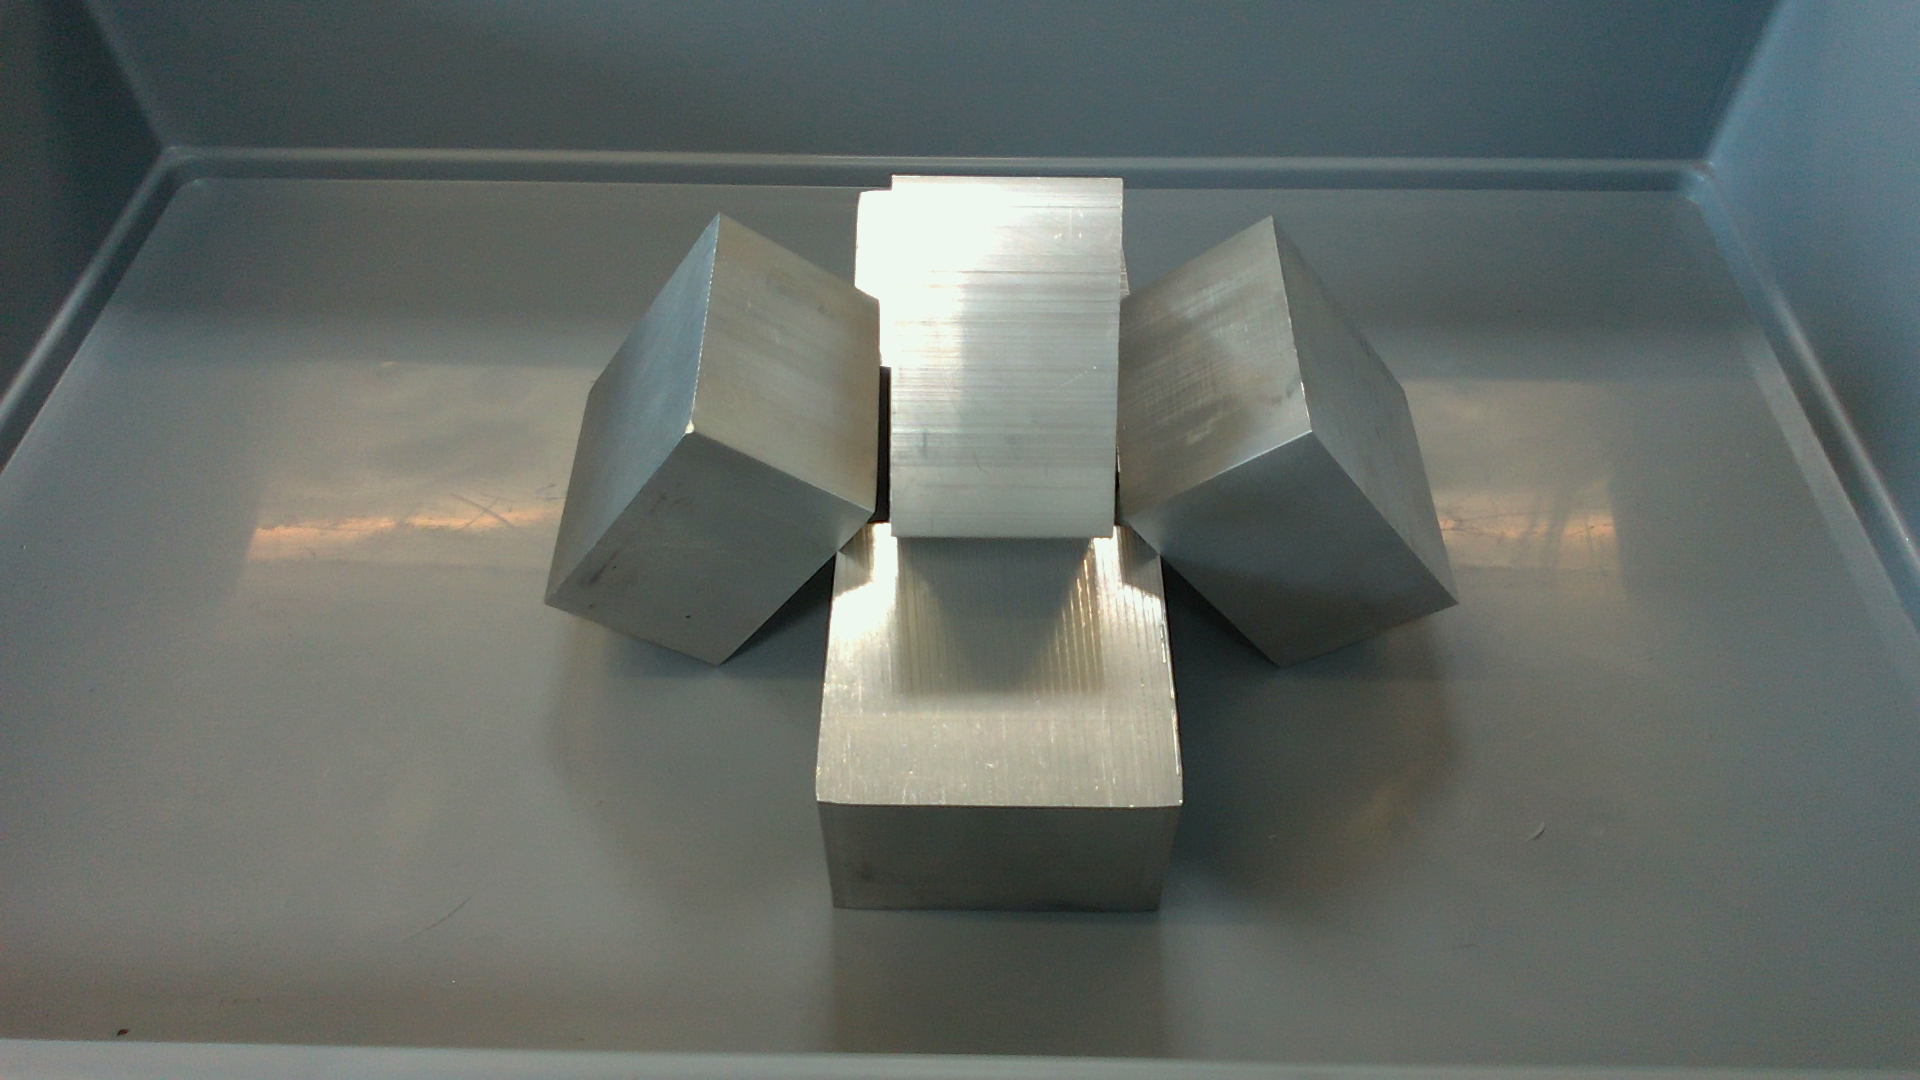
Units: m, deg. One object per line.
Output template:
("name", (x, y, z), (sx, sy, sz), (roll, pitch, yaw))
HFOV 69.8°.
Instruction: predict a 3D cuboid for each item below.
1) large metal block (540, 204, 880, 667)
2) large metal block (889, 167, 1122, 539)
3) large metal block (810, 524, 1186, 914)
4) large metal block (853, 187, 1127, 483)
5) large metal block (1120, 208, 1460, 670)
("large metal block", (-0.065, -0.026, 0.366), (0.050, 0.080, 0.080), (24, 44, -28))
("large metal block", (0.009, -0.044, 0.340), (0.050, 0.080, 0.080), (0, 6, -1))
("large metal block", (0.009, 0.043, 0.338), (0.080, 0.050, 0.080), (1, 50, 1))
("large metal block", (0.009, -0.065, 0.425), (0.080, 0.050, 0.080), (-1, 50, -1))
("large metal block", (0.084, -0.025, 0.367), (0.050, 0.080, 0.080), (-27, 43, 29))
